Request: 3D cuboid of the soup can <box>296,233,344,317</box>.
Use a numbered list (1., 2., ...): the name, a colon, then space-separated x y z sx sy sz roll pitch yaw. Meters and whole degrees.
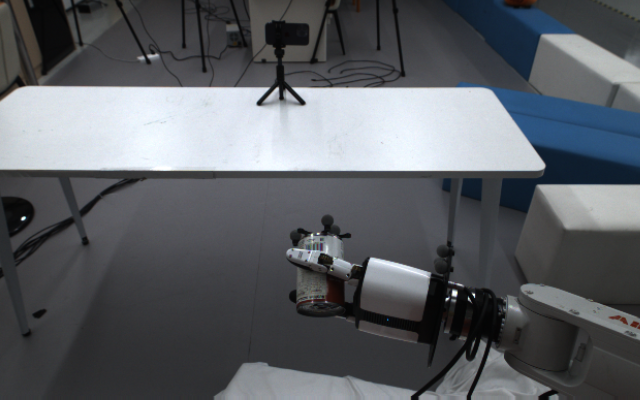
1. soup can: 0.003 0.106 0.675 0.067 0.067 0.101 0 63 -2
